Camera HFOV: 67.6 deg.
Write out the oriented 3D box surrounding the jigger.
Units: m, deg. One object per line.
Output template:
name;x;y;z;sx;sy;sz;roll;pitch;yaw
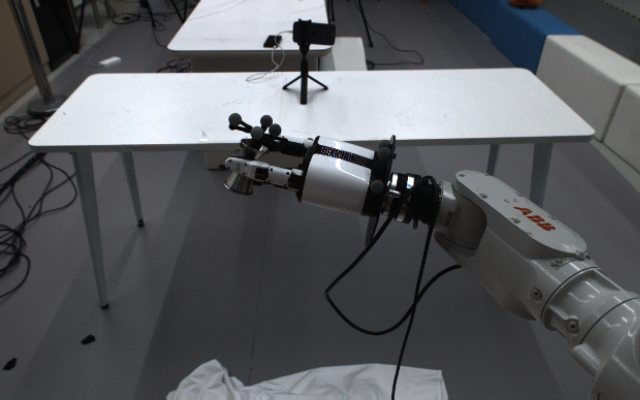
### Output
jigger;-0.103;-0.047;0.672;0.043;0.071;0.043;23;19;-8
